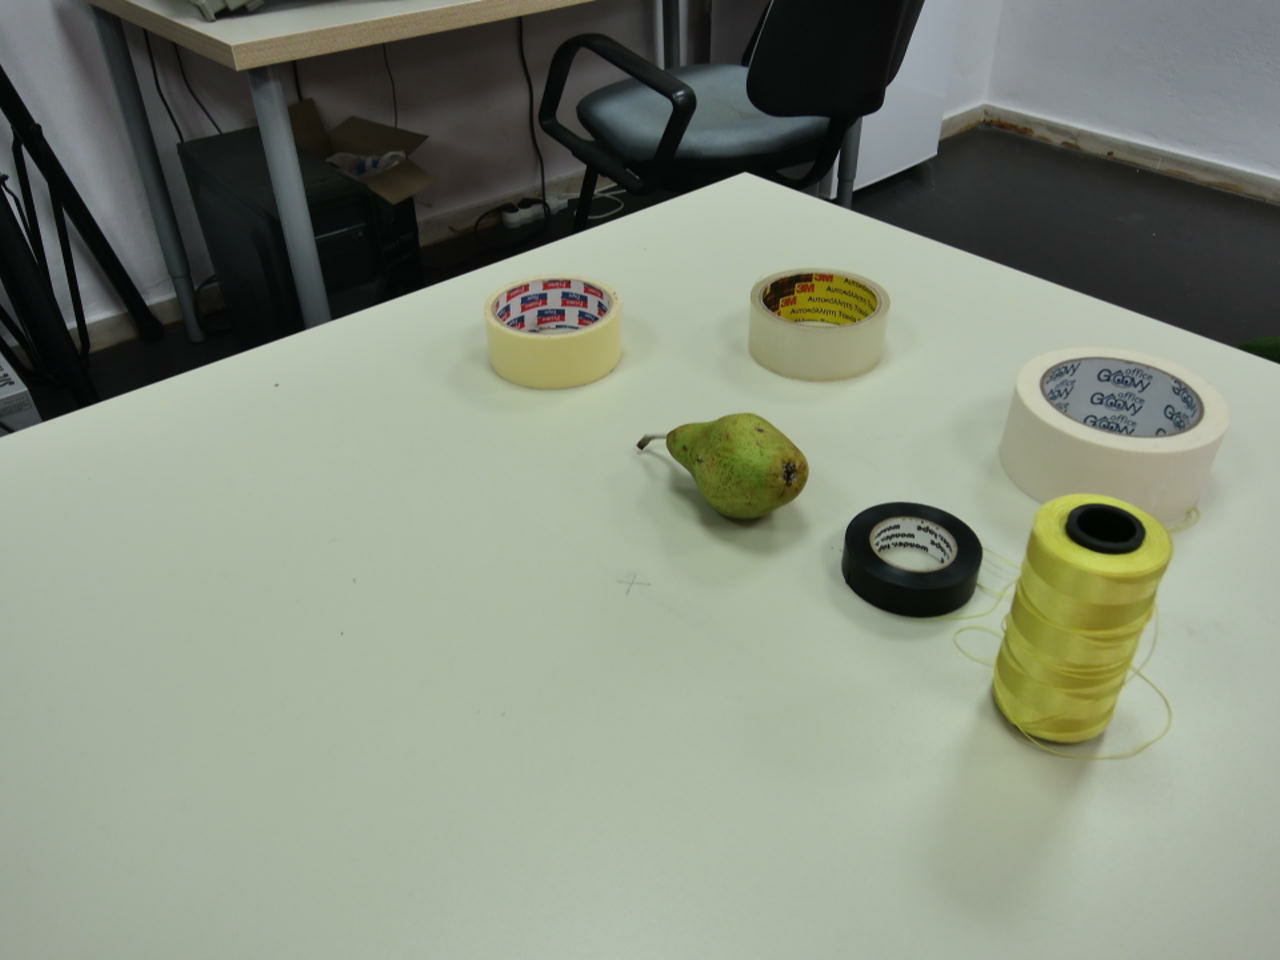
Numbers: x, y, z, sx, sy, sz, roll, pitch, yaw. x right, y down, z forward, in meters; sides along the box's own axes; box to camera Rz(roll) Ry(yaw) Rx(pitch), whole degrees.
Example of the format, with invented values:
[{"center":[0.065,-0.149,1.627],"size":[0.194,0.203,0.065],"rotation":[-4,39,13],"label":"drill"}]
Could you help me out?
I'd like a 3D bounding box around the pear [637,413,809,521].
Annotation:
[{"center":[0.047,-0.017,0.548],"size":[0.056,0.056,0.111],"rotation":[-16,38,-19],"label":"pear"}]
